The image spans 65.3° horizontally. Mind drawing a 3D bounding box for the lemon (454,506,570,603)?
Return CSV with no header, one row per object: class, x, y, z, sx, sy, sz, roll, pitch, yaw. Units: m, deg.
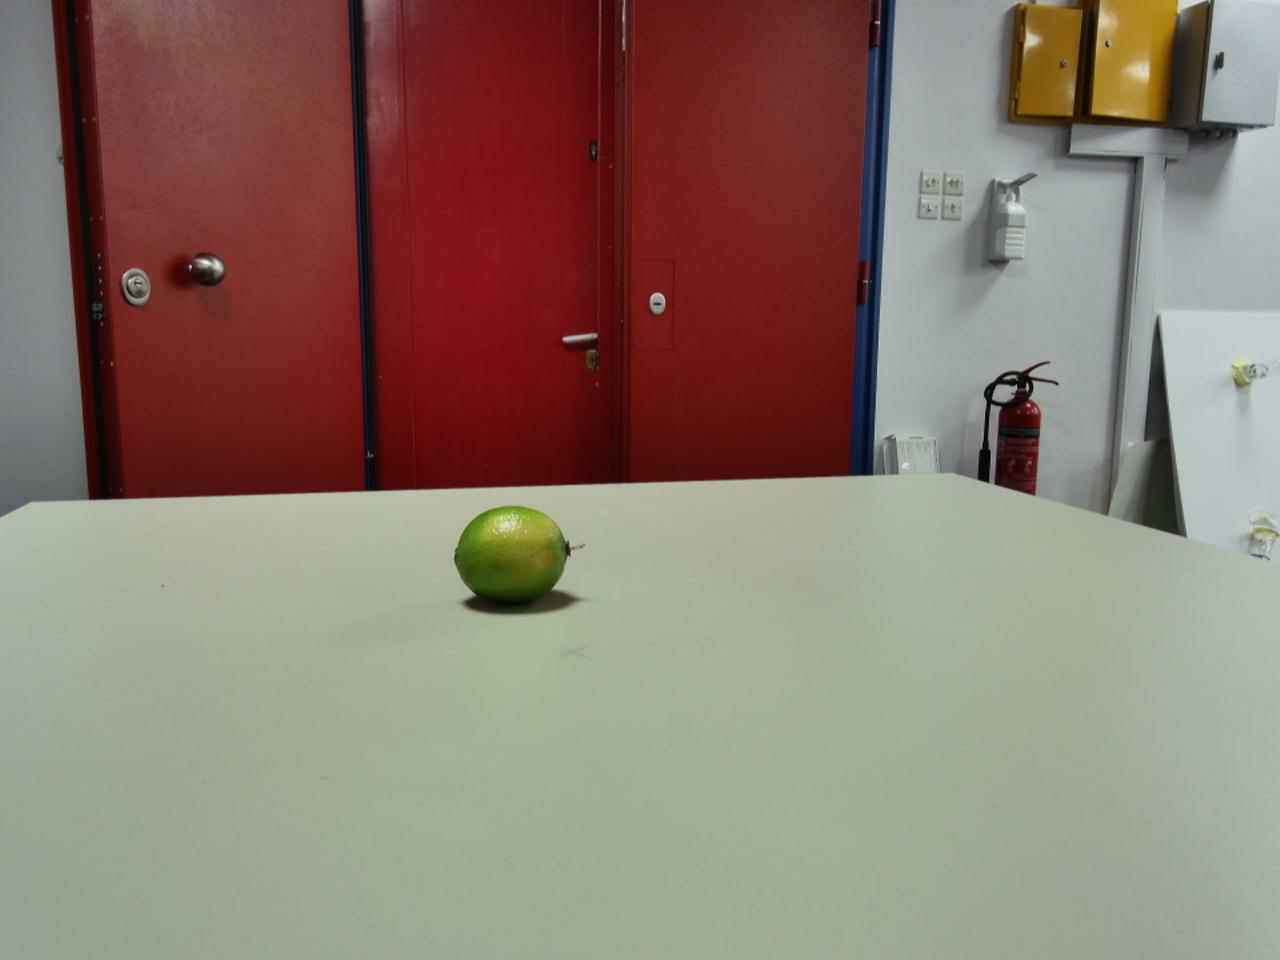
lemon,-0.068,0.038,0.528,0.055,0.050,0.054,4,9,37
